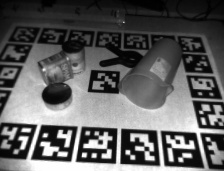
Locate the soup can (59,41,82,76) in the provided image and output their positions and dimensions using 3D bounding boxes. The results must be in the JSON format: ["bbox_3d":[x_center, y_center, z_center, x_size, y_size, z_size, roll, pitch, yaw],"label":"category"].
[{"bbox_3d":[-0.143,-0.090,0.738,0.068,0.102,0.067,0,53,1],"label":"soup can"}]

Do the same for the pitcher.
[{"bbox_3d":[0.123,-0.047,0.692,0.186,0.134,0.243,5,40,30],"label":"pitcher"}]

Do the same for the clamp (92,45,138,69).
[{"bbox_3d":[0.016,-0.101,0.807,0.165,0.037,0.121,7,47,-2],"label":"clamp"}]

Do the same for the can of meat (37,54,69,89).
[{"bbox_3d":[-0.194,-0.042,0.691,0.084,0.102,0.057,-29,59,-18],"label":"can of meat"}]

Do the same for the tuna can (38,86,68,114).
[{"bbox_3d":[-0.180,0.045,0.670,0.086,0.034,0.085,2,53,-1],"label":"tuna can"}]
